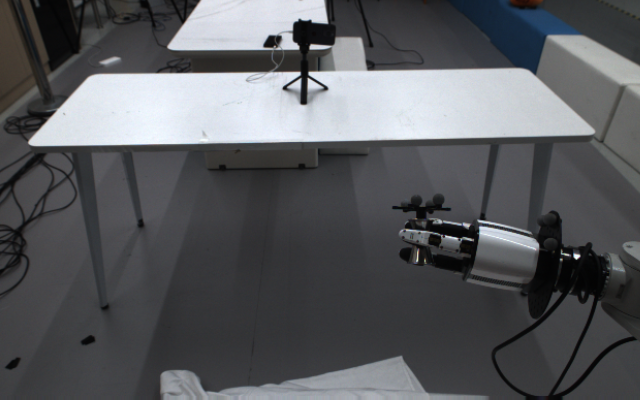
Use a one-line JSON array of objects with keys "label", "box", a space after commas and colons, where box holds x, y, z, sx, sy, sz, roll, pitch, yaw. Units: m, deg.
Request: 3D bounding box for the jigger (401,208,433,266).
[{"label": "jigger", "box": [0.153, 0.062, 0.744, 0.043, 0.071, 0.043, 2, -6, 0]}]
